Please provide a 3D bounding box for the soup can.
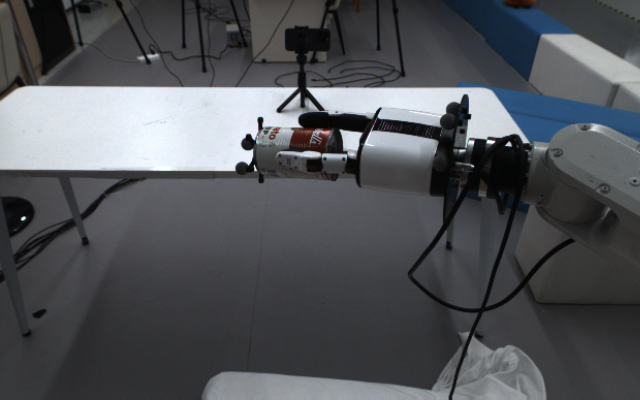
[{"bbox_3d":[-0.025,-0.061,0.635,0.101,0.067,0.067,5,34,18],"label":"soup can"}]
